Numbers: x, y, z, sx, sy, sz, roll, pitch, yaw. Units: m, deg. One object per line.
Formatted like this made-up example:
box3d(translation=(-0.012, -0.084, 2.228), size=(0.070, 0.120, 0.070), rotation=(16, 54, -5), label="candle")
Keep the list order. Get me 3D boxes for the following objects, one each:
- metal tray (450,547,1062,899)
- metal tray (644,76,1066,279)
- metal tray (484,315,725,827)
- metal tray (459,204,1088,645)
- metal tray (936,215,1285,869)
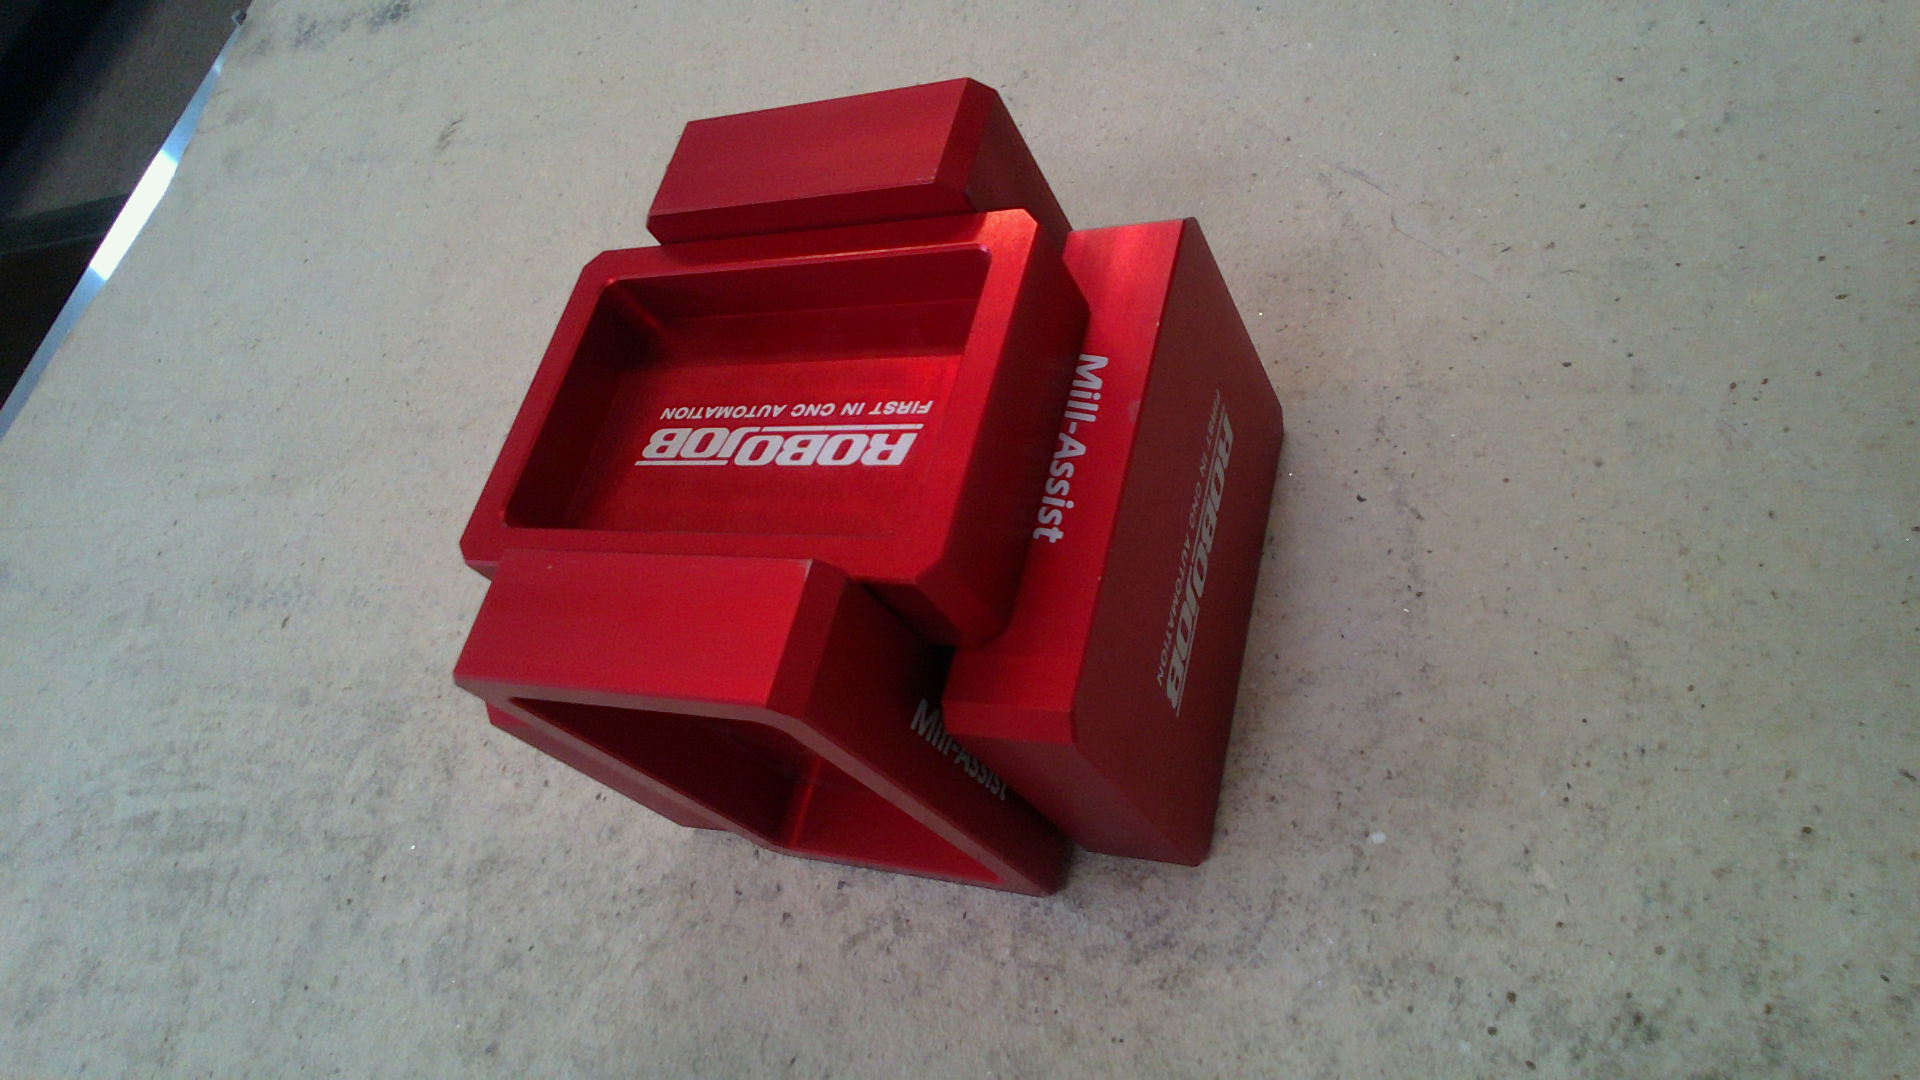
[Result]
box3d(translation=(-0.038, 0.045, 0.318), size=(0.090, 0.130, 0.030), rotation=(1, 63, 29), label="metal tray")
box3d(translation=(-0.010, -0.060, 0.367), size=(0.090, 0.130, 0.030), rotation=(2, 62, 29), label="metal tray")
box3d(translation=(-0.072, 0.006, 0.386), size=(0.030, 0.090, 0.130), rotation=(0, 61, 28), label="metal tray")
box3d(translation=(-0.044, -0.026, 0.314), size=(0.130, 0.030, 0.090), rotation=(1, 63, 29), label="metal tray")
box3d(translation=(0.042, 0.001, 0.328), size=(0.030, 0.090, 0.130), rotation=(1, 61, 30), label="metal tray")
